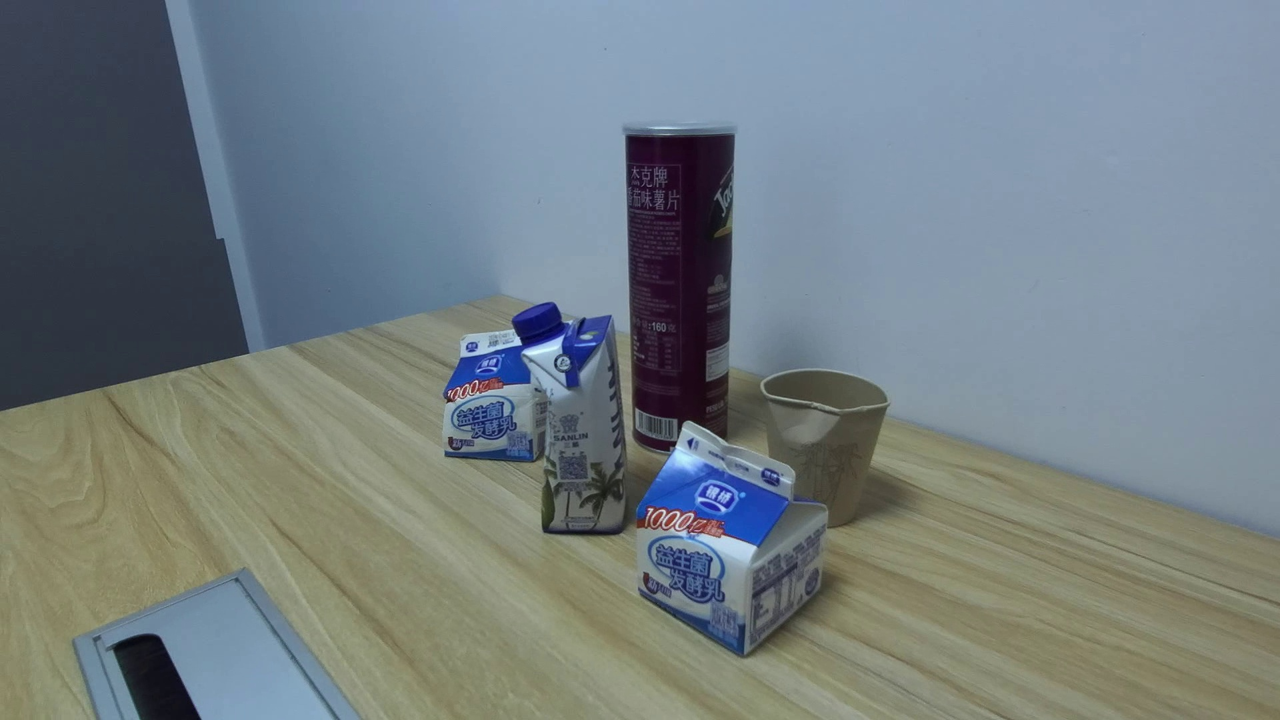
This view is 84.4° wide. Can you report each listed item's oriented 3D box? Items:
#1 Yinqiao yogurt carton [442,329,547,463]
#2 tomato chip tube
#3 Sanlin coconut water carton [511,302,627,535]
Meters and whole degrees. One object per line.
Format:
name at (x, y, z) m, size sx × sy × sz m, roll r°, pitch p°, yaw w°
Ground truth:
Yinqiao yogurt carton at (-0.105, 0.019, 0.547) m, size 0.083 × 0.093 × 0.077 m, roll 2°, pitch 21°, yaw 9°
tomato chip tube at (0.030, -0.048, 0.520) m, size 0.078 × 0.234 × 0.078 m, roll -1°, pitch 18°, yaw 1°
Sanlin coconut water carton at (-0.038, 0.034, 0.438) m, size 0.057 × 0.142 × 0.078 m, roll -4°, pitch 20°, yaw 7°
